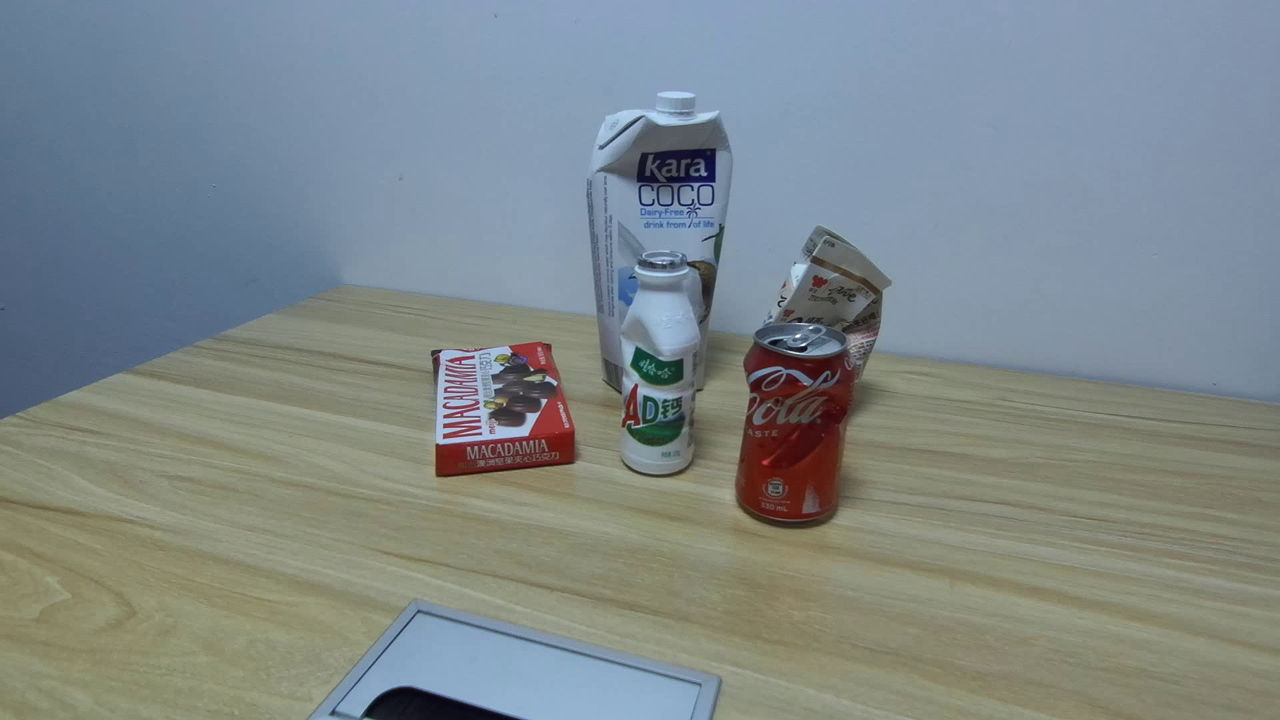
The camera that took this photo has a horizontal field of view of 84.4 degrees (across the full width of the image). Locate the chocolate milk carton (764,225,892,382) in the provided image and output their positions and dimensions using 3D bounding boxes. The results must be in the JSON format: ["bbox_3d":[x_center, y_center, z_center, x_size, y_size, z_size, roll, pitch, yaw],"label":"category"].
[{"bbox_3d":[0.141,-0.025,0.545,0.089,0.155,0.077,19,31,7],"label":"chocolate milk carton"}]

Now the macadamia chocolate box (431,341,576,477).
[{"bbox_3d":[-0.111,0.030,0.559,0.106,0.028,0.182,-5,23,-14],"label":"macadamia chocolate box"}]

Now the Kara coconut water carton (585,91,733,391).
[{"bbox_3d":[0.014,-0.090,0.570,0.115,0.238,0.069,-7,21,-25],"label":"Kara coconut water carton"}]

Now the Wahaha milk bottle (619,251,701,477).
[{"bbox_3d":[0.012,0.003,0.467,0.056,0.148,0.056,1,24,0],"label":"Wahaha milk bottle"}]

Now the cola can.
[{"bbox_3d":[0.093,0.037,0.429,0.066,0.117,0.066,6,23,11],"label":"cola can"}]
